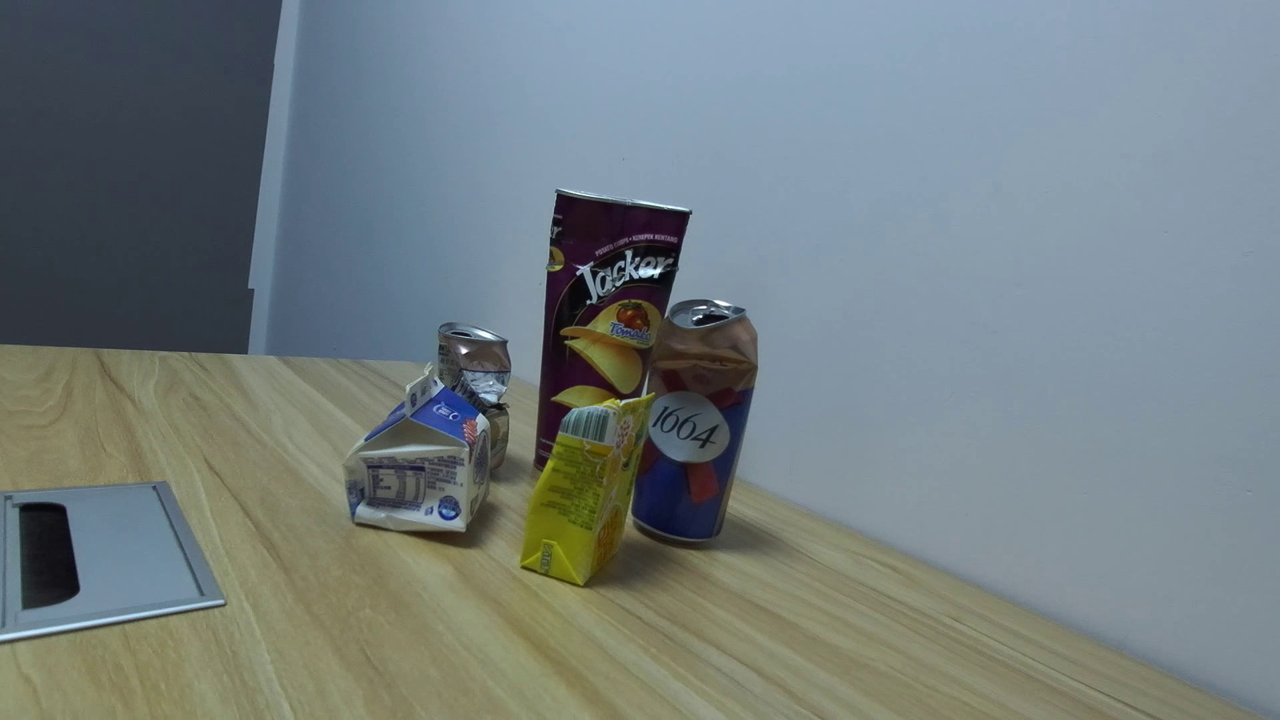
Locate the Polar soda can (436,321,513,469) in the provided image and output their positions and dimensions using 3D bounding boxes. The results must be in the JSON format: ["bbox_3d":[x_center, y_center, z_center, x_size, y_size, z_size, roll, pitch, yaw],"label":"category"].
[{"bbox_3d":[-0.134,0.031,0.553,0.074,0.114,0.070,8,11,6],"label":"Polar soda can"}]

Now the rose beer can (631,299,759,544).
[{"bbox_3d":[0.038,0.043,0.496,0.069,0.168,0.070,7,12,-3],"label":"rose beer can"}]

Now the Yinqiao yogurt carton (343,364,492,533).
[{"bbox_3d":[-0.140,0.054,0.446,0.080,0.097,0.074,1,9,-3],"label":"Yinqiao yogurt carton"}]

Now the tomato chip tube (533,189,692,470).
[{"bbox_3d":[-0.036,-0.019,0.594,0.078,0.235,0.089,3,12,-40],"label":"tomato chip tube"}]

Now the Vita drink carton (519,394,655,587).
[{"bbox_3d":[-0.031,0.069,0.425,0.046,0.109,0.071,15,8,16],"label":"Vita drink carton"}]
